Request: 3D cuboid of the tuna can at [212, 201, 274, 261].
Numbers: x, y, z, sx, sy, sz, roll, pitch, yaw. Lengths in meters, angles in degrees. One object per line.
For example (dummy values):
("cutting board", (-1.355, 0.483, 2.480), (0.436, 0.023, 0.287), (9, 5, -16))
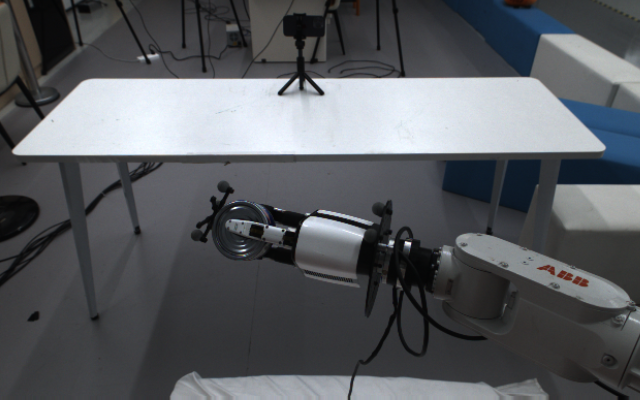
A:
("tuna can", (-0.105, 0.047, 0.680), (0.085, 0.085, 0.034), (9, -3, 10))
